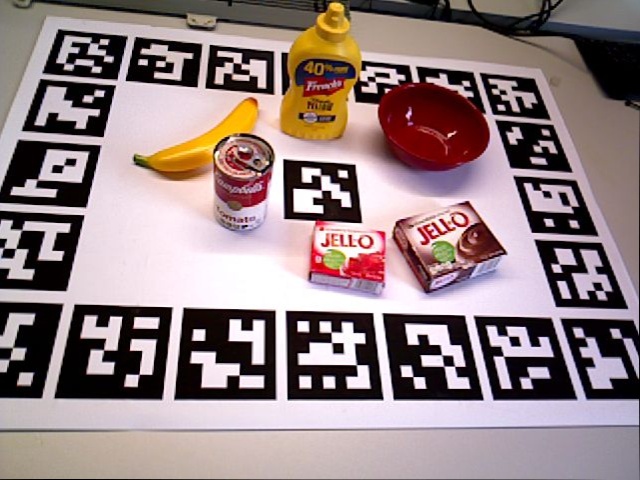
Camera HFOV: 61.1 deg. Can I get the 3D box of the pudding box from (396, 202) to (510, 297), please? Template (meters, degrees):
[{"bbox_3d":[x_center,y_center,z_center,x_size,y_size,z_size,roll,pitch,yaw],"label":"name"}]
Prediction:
[{"bbox_3d":[0.163,0.010,0.667,0.112,0.039,0.089,-18,66,-22],"label":"pudding box"}]

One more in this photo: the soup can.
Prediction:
[{"bbox_3d":[-0.096,-0.072,0.624,0.067,0.104,0.067,6,52,-9],"label":"soup can"}]

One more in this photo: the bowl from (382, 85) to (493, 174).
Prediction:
[{"bbox_3d":[0.161,-0.146,0.768,0.160,0.056,0.159,4,54,-6],"label":"bowl"}]

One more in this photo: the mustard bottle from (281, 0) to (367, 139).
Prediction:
[{"bbox_3d":[0.007,-0.218,0.686,0.095,0.196,0.057,4,52,-9],"label":"mustard bottle"}]

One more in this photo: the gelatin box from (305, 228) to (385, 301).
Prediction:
[{"bbox_3d":[0.030,0.028,0.635,0.089,0.031,0.072,9,58,-4],"label":"gelatin box"}]

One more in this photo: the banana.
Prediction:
[{"bbox_3d":[-0.150,-0.142,0.713,0.074,0.040,0.193,32,55,24],"label":"banana"}]
